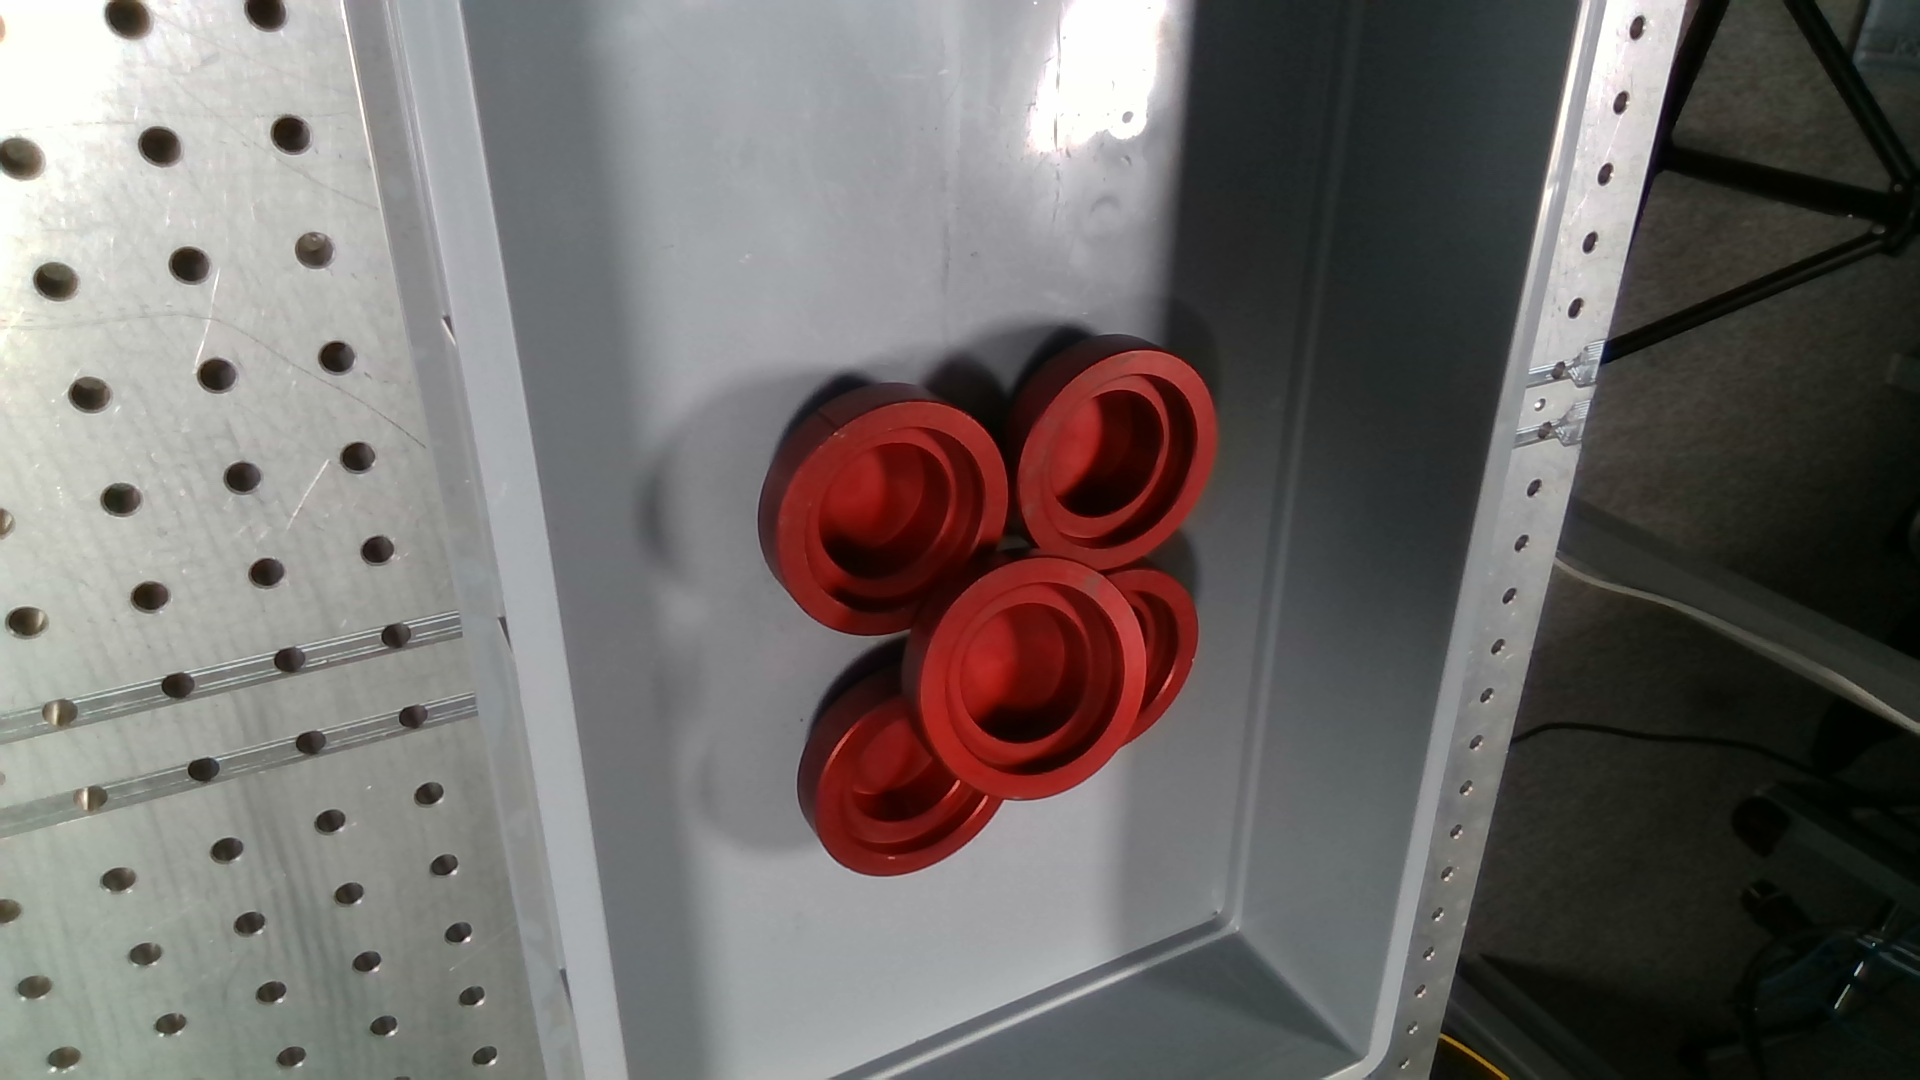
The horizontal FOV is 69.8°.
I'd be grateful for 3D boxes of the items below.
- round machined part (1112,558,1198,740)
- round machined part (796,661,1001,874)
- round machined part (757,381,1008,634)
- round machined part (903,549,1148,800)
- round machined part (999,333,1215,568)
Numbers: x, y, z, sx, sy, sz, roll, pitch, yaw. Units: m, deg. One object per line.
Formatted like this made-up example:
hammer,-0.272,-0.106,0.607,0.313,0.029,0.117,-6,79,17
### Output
round machined part,0.057,0.047,0.629,0.098,0.042,0.098,-14,122,-25
round machined part,-0.027,0.094,0.602,0.098,0.042,0.098,-14,122,-25
round machined part,-0.034,-0.016,0.539,0.098,0.042,0.098,-14,122,-25
round machined part,0.023,0.051,0.555,0.098,0.042,0.098,-3,99,-22
round machined part,0.056,-0.040,0.581,0.098,0.042,0.098,-14,122,-25
